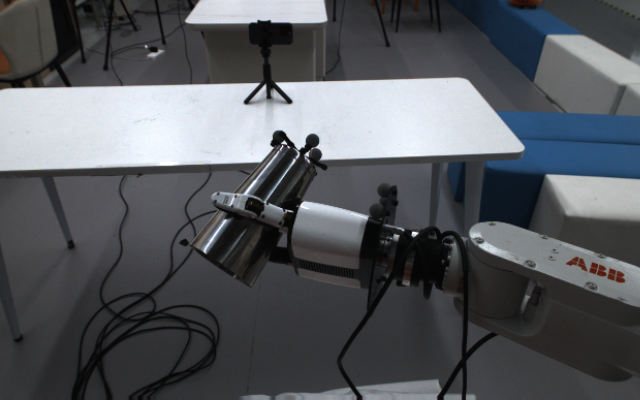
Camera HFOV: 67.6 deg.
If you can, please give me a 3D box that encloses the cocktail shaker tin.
[{"bbox_3d":[-0.077,0.010,0.617,0.093,0.093,0.170,24,70,28],"label":"cocktail shaker tin"}]
